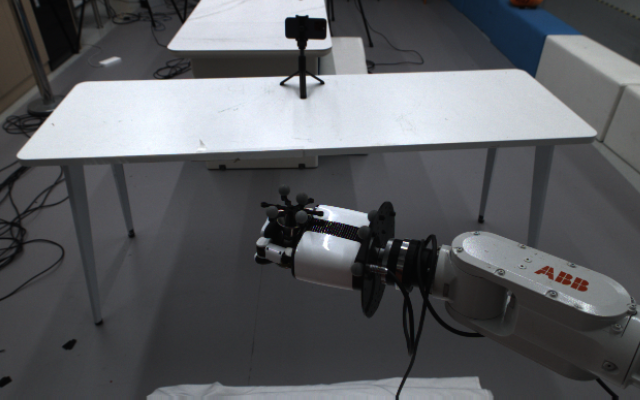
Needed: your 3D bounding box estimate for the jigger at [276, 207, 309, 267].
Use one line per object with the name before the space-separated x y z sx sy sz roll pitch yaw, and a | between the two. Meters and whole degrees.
jigger | -0.042 0.058 0.695 0.043 0.071 0.043 5 26 -3
